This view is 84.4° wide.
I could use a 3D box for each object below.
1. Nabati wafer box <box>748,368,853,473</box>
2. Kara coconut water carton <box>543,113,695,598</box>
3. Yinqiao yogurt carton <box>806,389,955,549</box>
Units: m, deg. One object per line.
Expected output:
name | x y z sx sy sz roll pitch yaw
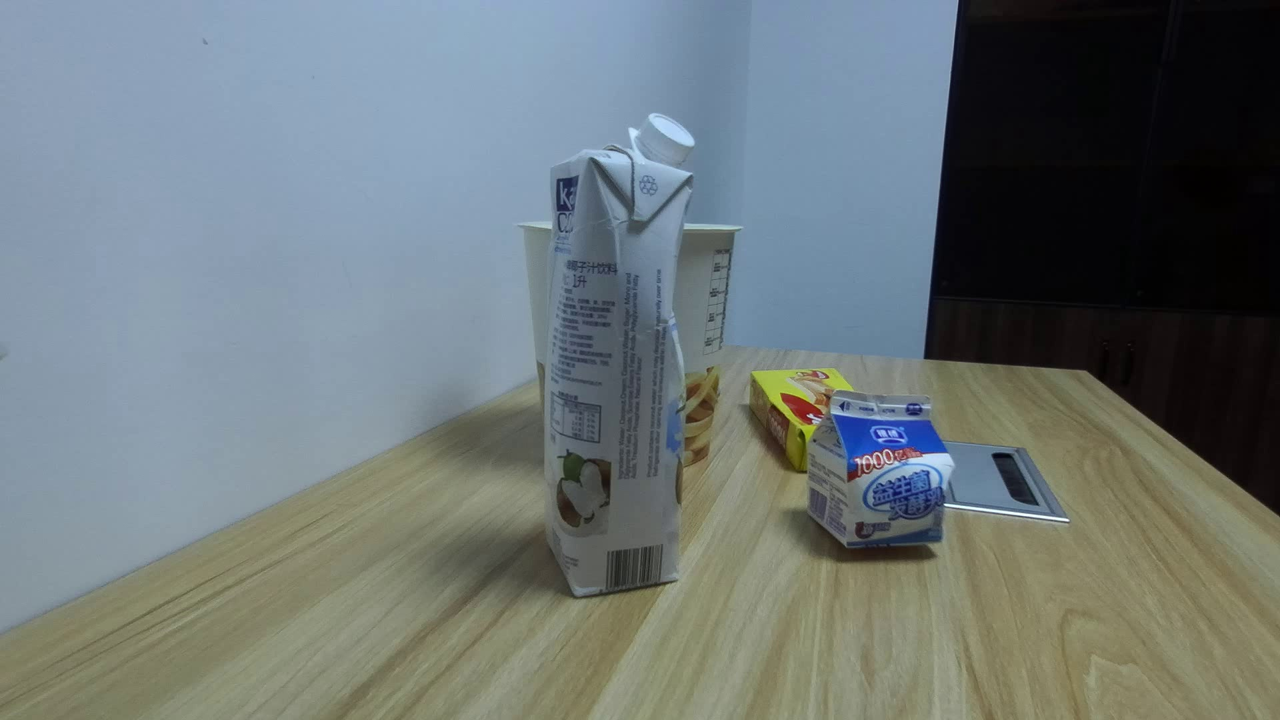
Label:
Nabati wafer box | 0.175 0.052 0.675 0.107 0.042 0.204 -1 14 -2
Kara coconut water carton | -0.011 -0.003 0.391 0.078 0.255 0.083 1 12 -5
Yinqiao yogurt carton | 0.154 0.066 0.452 0.074 0.097 0.080 0 6 -8
